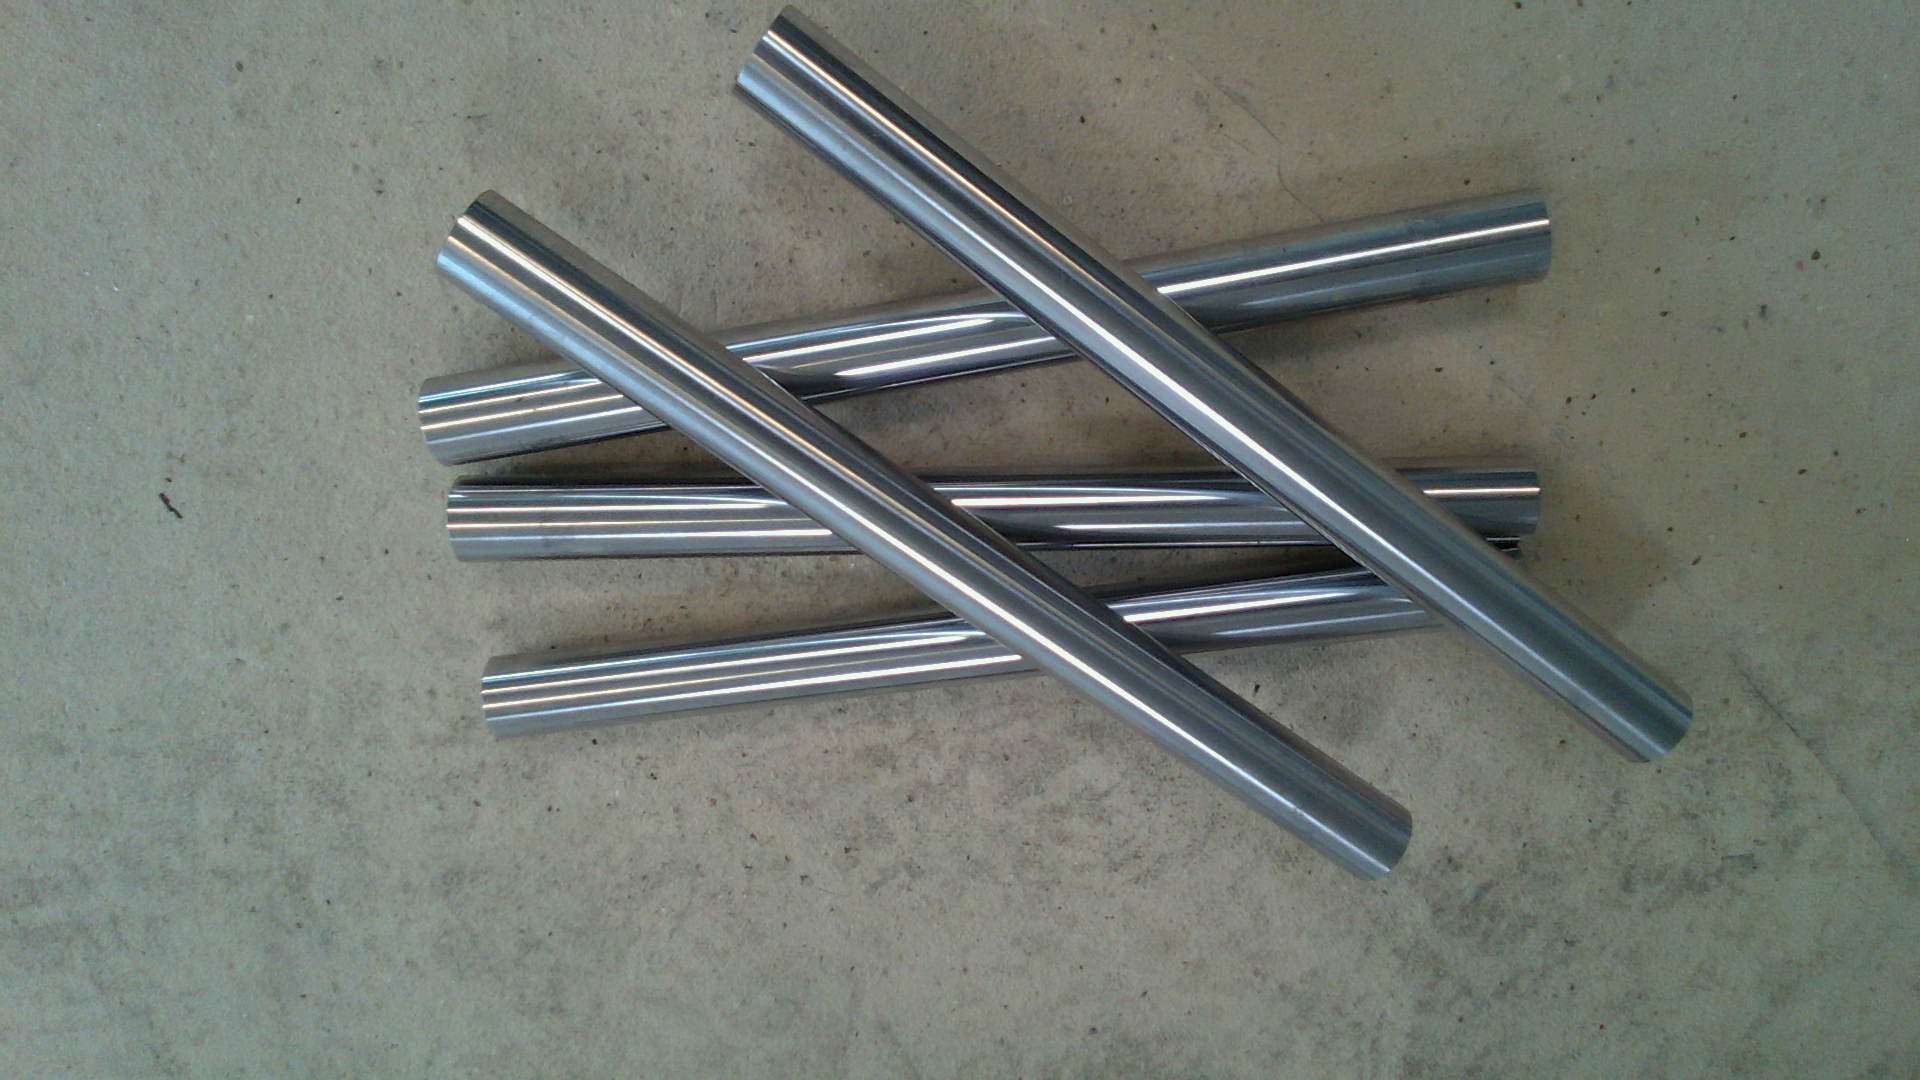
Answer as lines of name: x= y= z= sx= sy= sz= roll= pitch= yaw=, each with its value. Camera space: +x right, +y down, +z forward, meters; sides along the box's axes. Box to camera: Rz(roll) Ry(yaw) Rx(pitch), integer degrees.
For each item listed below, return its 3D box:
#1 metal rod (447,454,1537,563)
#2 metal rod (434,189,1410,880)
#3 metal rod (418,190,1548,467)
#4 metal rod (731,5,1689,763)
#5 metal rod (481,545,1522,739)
metal rod: x=0.009 y=-0.009 z=0.391 sx=0.300 sy=0.025 sz=0.025 roll=-1 pitch=110 yaw=0
metal rod: x=0.000 y=0.006 z=0.370 sx=0.300 sy=0.025 sz=0.025 roll=34 pitch=107 yaw=-12
metal rod: x=0.004 y=-0.056 z=0.373 sx=0.300 sy=0.025 sz=0.025 roll=-9 pitch=110 yaw=3
metal rod: x=0.074 y=-0.032 z=0.356 sx=0.300 sy=0.025 sz=0.025 roll=35 pitch=107 yaw=-12
metal rod: x=0.011 y=0.029 z=0.405 sx=0.300 sy=0.025 sz=0.025 roll=-7 pitch=110 yaw=2
